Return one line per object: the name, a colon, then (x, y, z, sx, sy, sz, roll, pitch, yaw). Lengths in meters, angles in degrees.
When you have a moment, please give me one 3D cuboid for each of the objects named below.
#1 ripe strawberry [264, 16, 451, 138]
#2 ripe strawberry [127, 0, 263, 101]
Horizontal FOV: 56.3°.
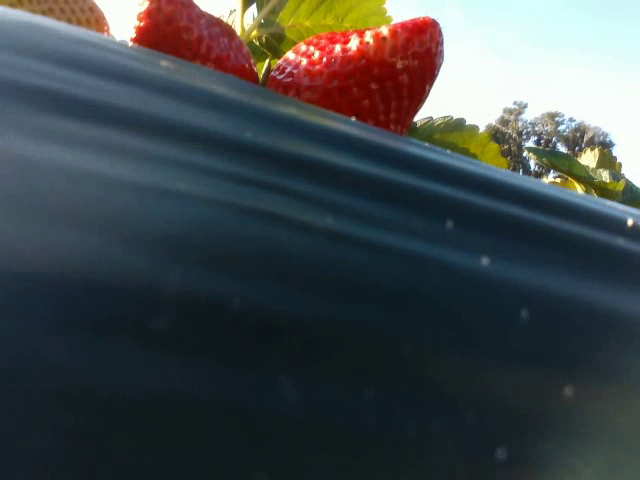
ripe strawberry: (0.014, -0.046, 0.179, 0.067, 0.052, 0.056, -29, -5, 41)
ripe strawberry: (-0.039, -0.053, 0.172, 0.050, 0.044, 0.061, 28, -14, 12)
